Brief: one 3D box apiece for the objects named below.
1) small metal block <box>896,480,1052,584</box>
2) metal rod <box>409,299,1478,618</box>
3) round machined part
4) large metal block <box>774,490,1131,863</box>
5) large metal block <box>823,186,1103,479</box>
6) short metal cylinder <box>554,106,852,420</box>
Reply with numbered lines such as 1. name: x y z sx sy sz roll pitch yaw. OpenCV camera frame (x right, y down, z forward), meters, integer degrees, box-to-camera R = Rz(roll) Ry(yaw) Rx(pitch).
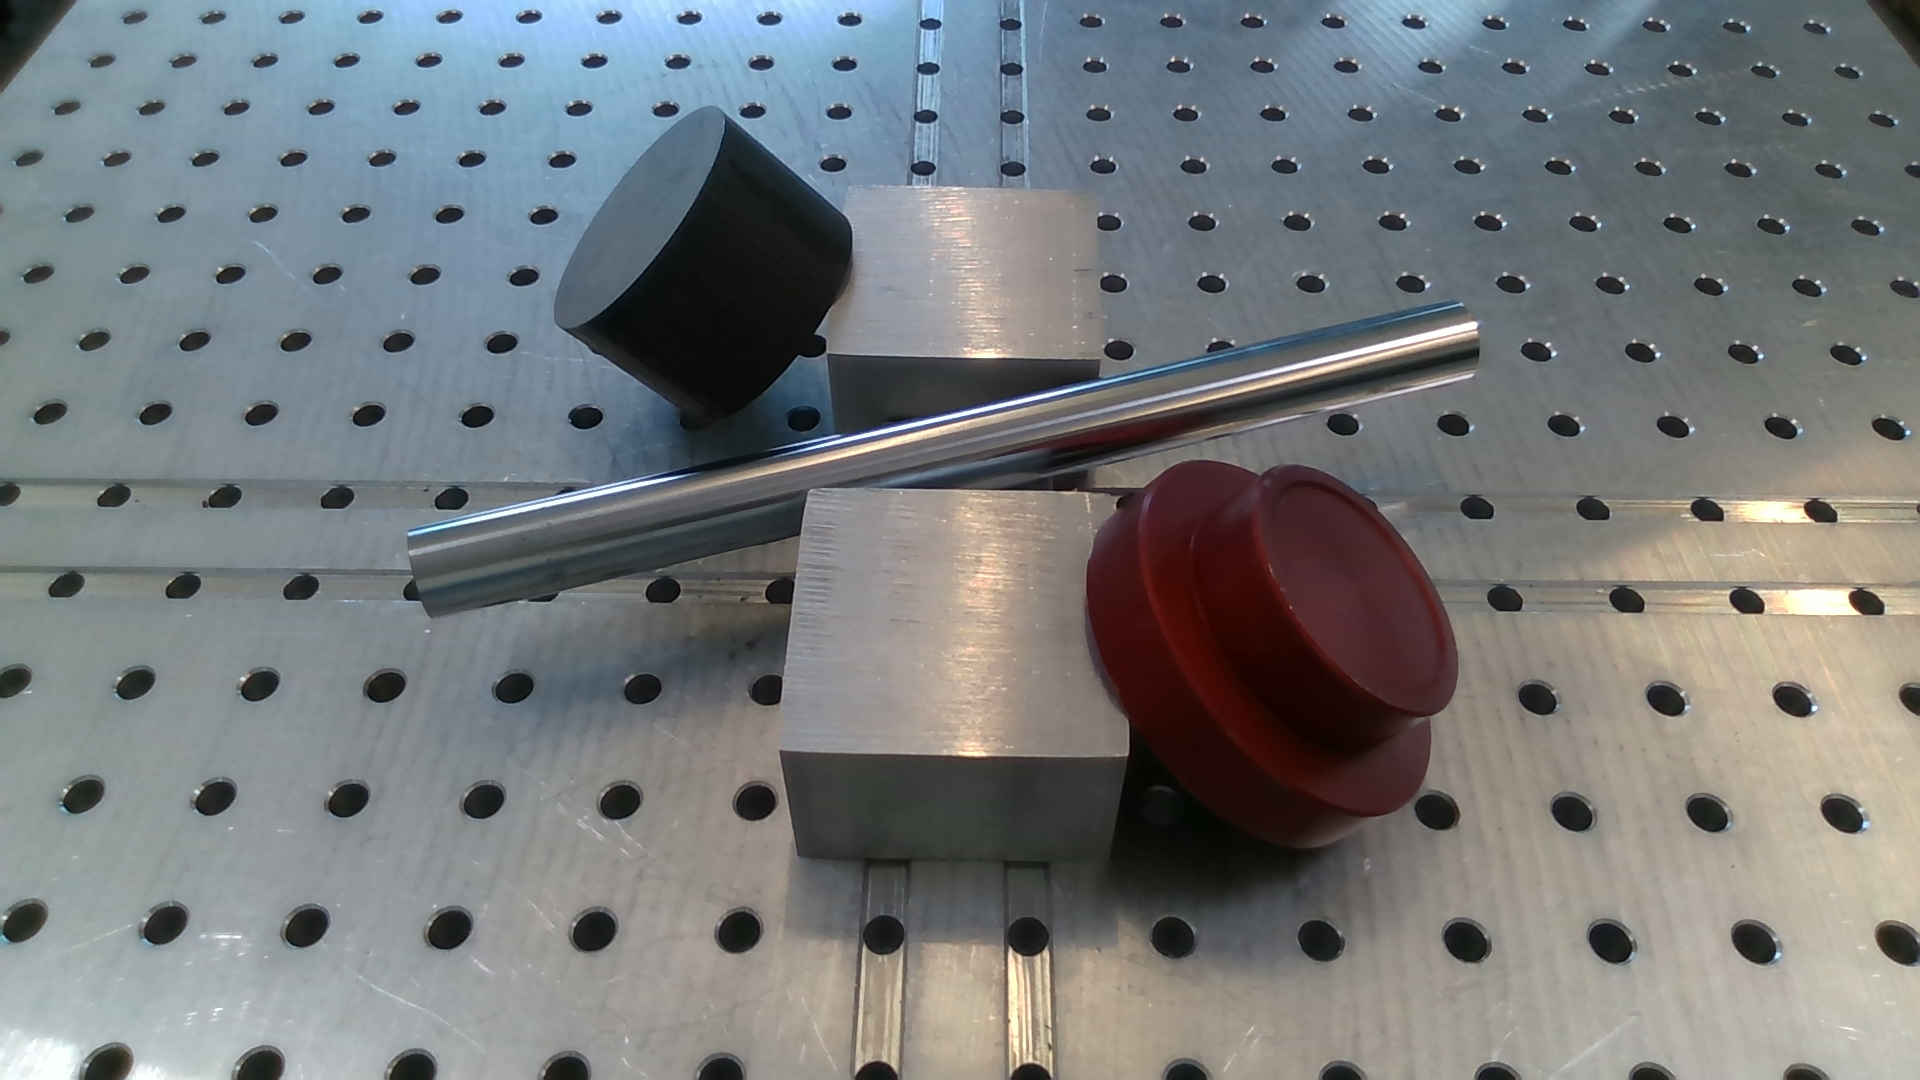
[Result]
1. small metal block: 0.001 -0.008 0.404 0.050 0.025 0.050 0 50 0
2. metal rod: 0.005 -0.026 0.385 0.300 0.025 0.025 -13 51 -11
3. round machined part: 0.081 0.021 0.337 0.098 0.042 0.098 24 45 -26
4. large metal block: -0.001 0.034 0.353 0.080 0.050 0.080 1 50 1
5. large metal block: 0.002 -0.067 0.437 0.080 0.050 0.080 1 50 1
6. short metal cylinder: -0.079 -0.084 0.423 0.080 0.050 0.080 -32 40 31
